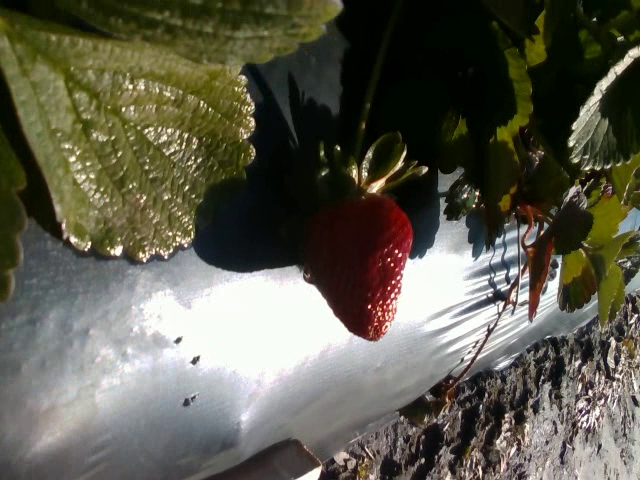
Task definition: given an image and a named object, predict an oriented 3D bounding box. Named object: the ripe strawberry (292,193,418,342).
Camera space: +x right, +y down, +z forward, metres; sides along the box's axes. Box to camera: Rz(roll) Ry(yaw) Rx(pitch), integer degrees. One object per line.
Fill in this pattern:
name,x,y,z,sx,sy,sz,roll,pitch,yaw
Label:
ripe strawberry,0.014,0.011,0.196,0.043,0.050,0.043,-12,-30,11
